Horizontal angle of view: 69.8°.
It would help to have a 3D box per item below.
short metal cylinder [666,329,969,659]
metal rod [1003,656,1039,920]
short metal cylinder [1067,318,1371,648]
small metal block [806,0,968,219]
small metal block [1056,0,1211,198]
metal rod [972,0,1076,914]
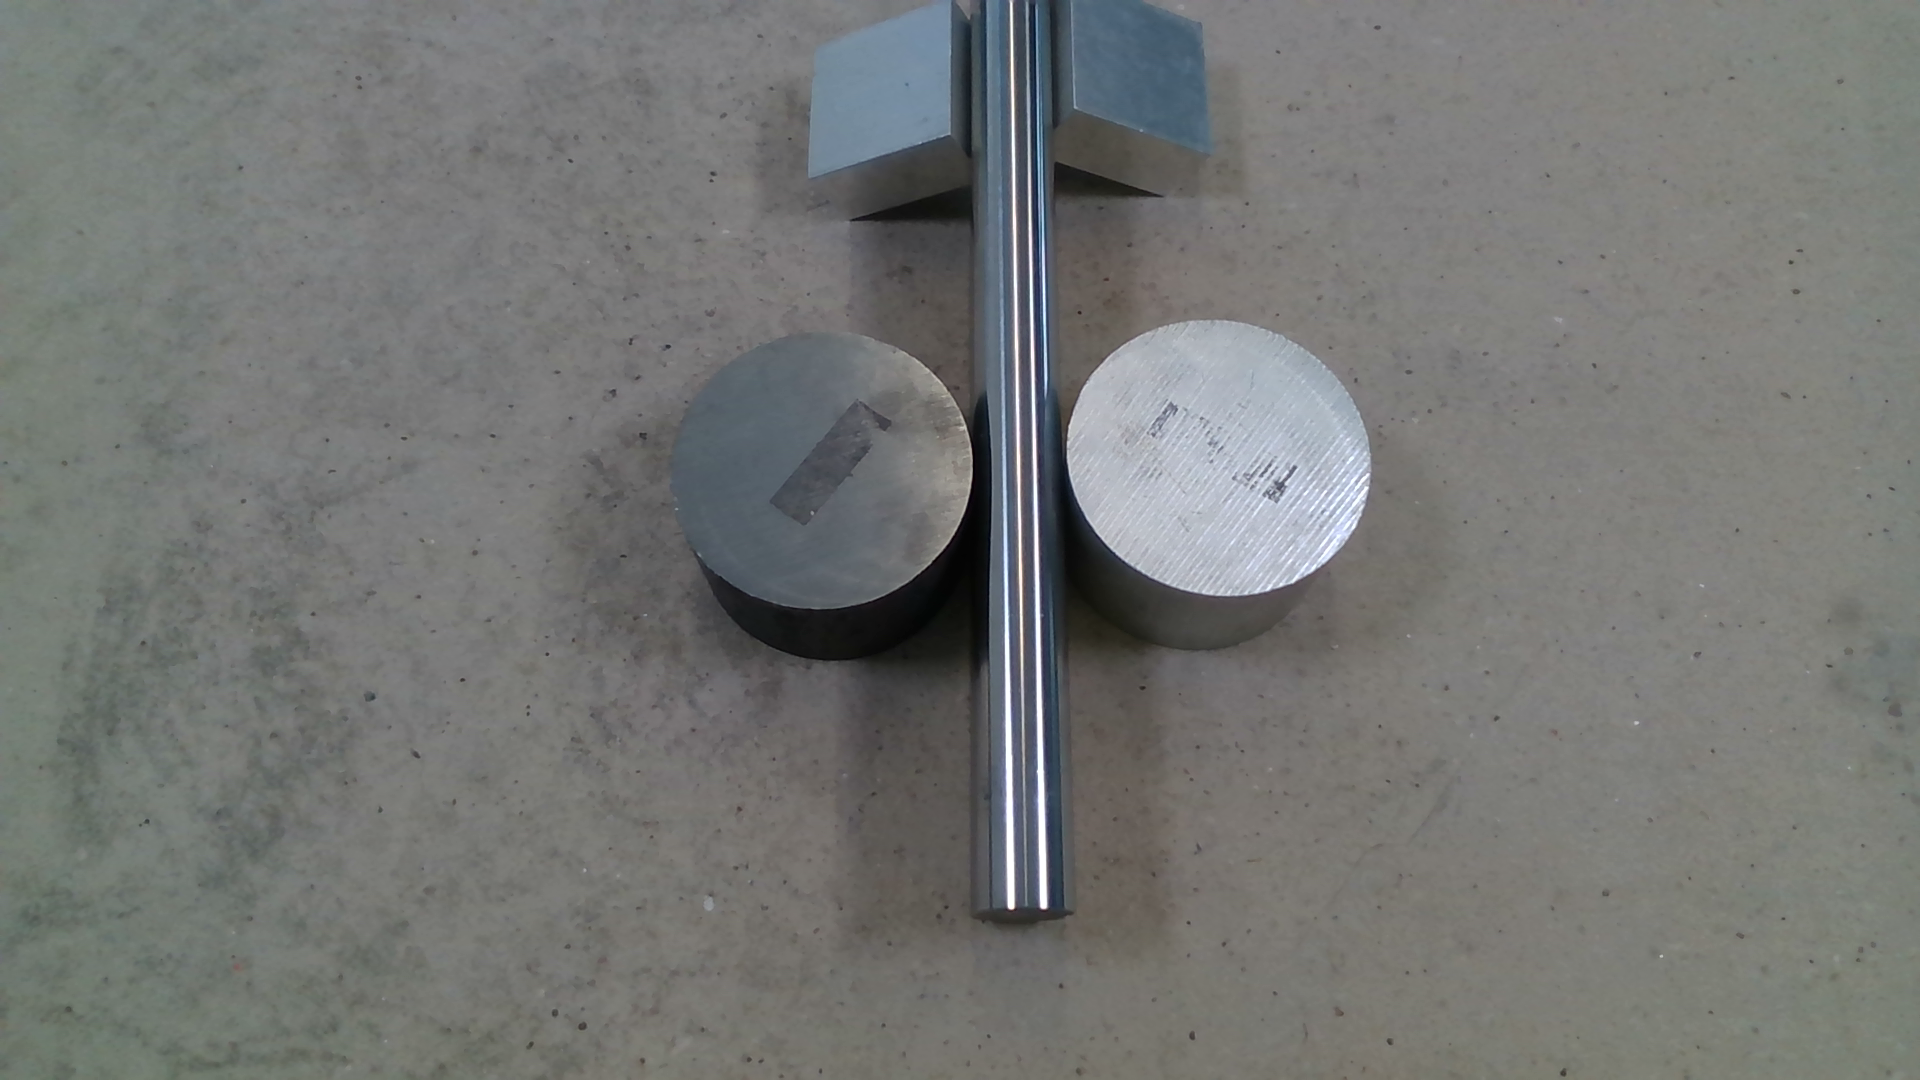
[{"bbox_3d":[-0.038,-0.012,0.387,0.080,0.050,0.080,0,70,0],"label":"short metal cylinder"},{"bbox_3d":[0.015,-0.042,0.411,0.025,0.025,0.299,0,71,0],"label":"metal rod"},{"bbox_3d":[0.068,-0.015,0.388,0.080,0.050,0.080,0,70,0],"label":"short metal cylinder"},{"bbox_3d":[-0.019,-0.135,0.433,0.050,0.025,0.050,-9,69,25],"label":"small metal block"},{"bbox_3d":[0.050,-0.143,0.437,0.050,0.025,0.050,10,68,-25],"label":"small metal block"},{"bbox_3d":[0.016,-0.050,0.387,0.025,0.025,0.299,0,70,0],"label":"metal rod"}]
